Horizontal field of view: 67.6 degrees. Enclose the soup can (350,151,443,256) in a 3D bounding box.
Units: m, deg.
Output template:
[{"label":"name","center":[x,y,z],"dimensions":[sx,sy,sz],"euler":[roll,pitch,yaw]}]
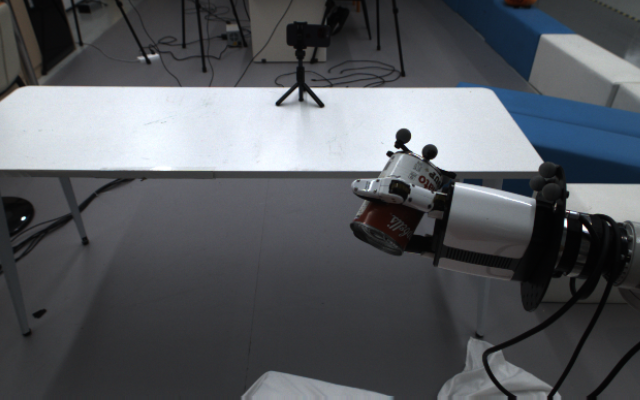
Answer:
[{"label":"soup can","center":[0.090,0.003,0.552],"dimensions":[0.067,0.067,0.101],"euler":[23,72,27]}]
